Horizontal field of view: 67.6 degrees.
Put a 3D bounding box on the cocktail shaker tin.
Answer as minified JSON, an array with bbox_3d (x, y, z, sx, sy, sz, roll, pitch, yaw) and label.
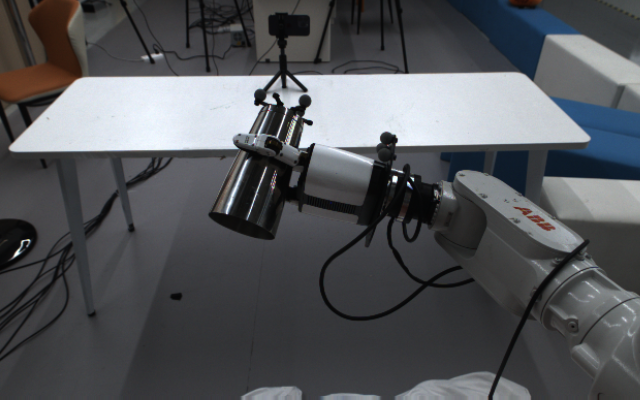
[{"bbox_3d":[-0.080,-0.042,0.660,0.093,0.093,0.170,13,70,15],"label":"cocktail shaker tin"}]
